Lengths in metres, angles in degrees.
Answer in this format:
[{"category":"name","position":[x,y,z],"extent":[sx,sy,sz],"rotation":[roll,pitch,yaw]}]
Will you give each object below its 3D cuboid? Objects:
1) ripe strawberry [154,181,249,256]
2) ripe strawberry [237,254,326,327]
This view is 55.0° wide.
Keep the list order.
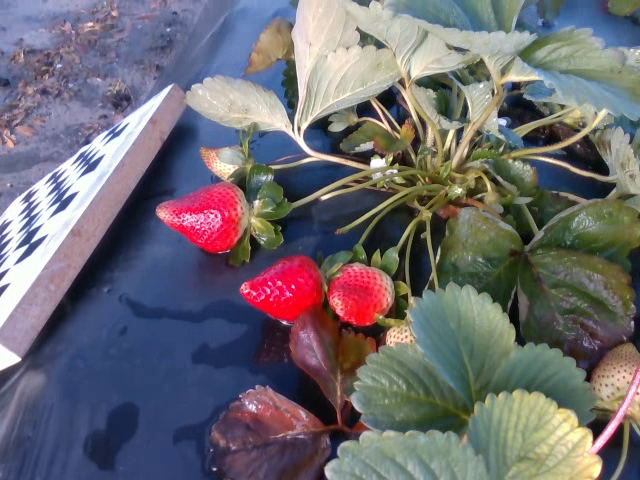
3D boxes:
[{"category":"ripe strawberry","position":[-0.077,-0.020,0.393],"extent":[0.065,0.050,0.050],"rotation":[10,12,-23]},{"category":"ripe strawberry","position":[-0.024,0.027,0.344],"extent":[0.055,0.042,0.044],"rotation":[3,-3,-37]}]
